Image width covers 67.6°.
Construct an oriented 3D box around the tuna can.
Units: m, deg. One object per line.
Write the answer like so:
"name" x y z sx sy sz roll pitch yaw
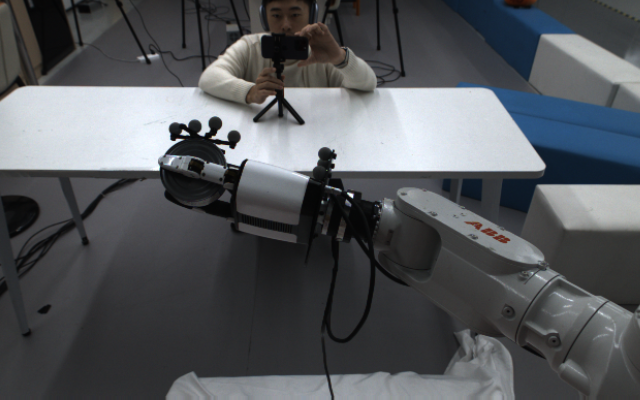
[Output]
"tuna can" -0.163 -0.035 0.635 0.085 0.034 0.085 1 72 -2
